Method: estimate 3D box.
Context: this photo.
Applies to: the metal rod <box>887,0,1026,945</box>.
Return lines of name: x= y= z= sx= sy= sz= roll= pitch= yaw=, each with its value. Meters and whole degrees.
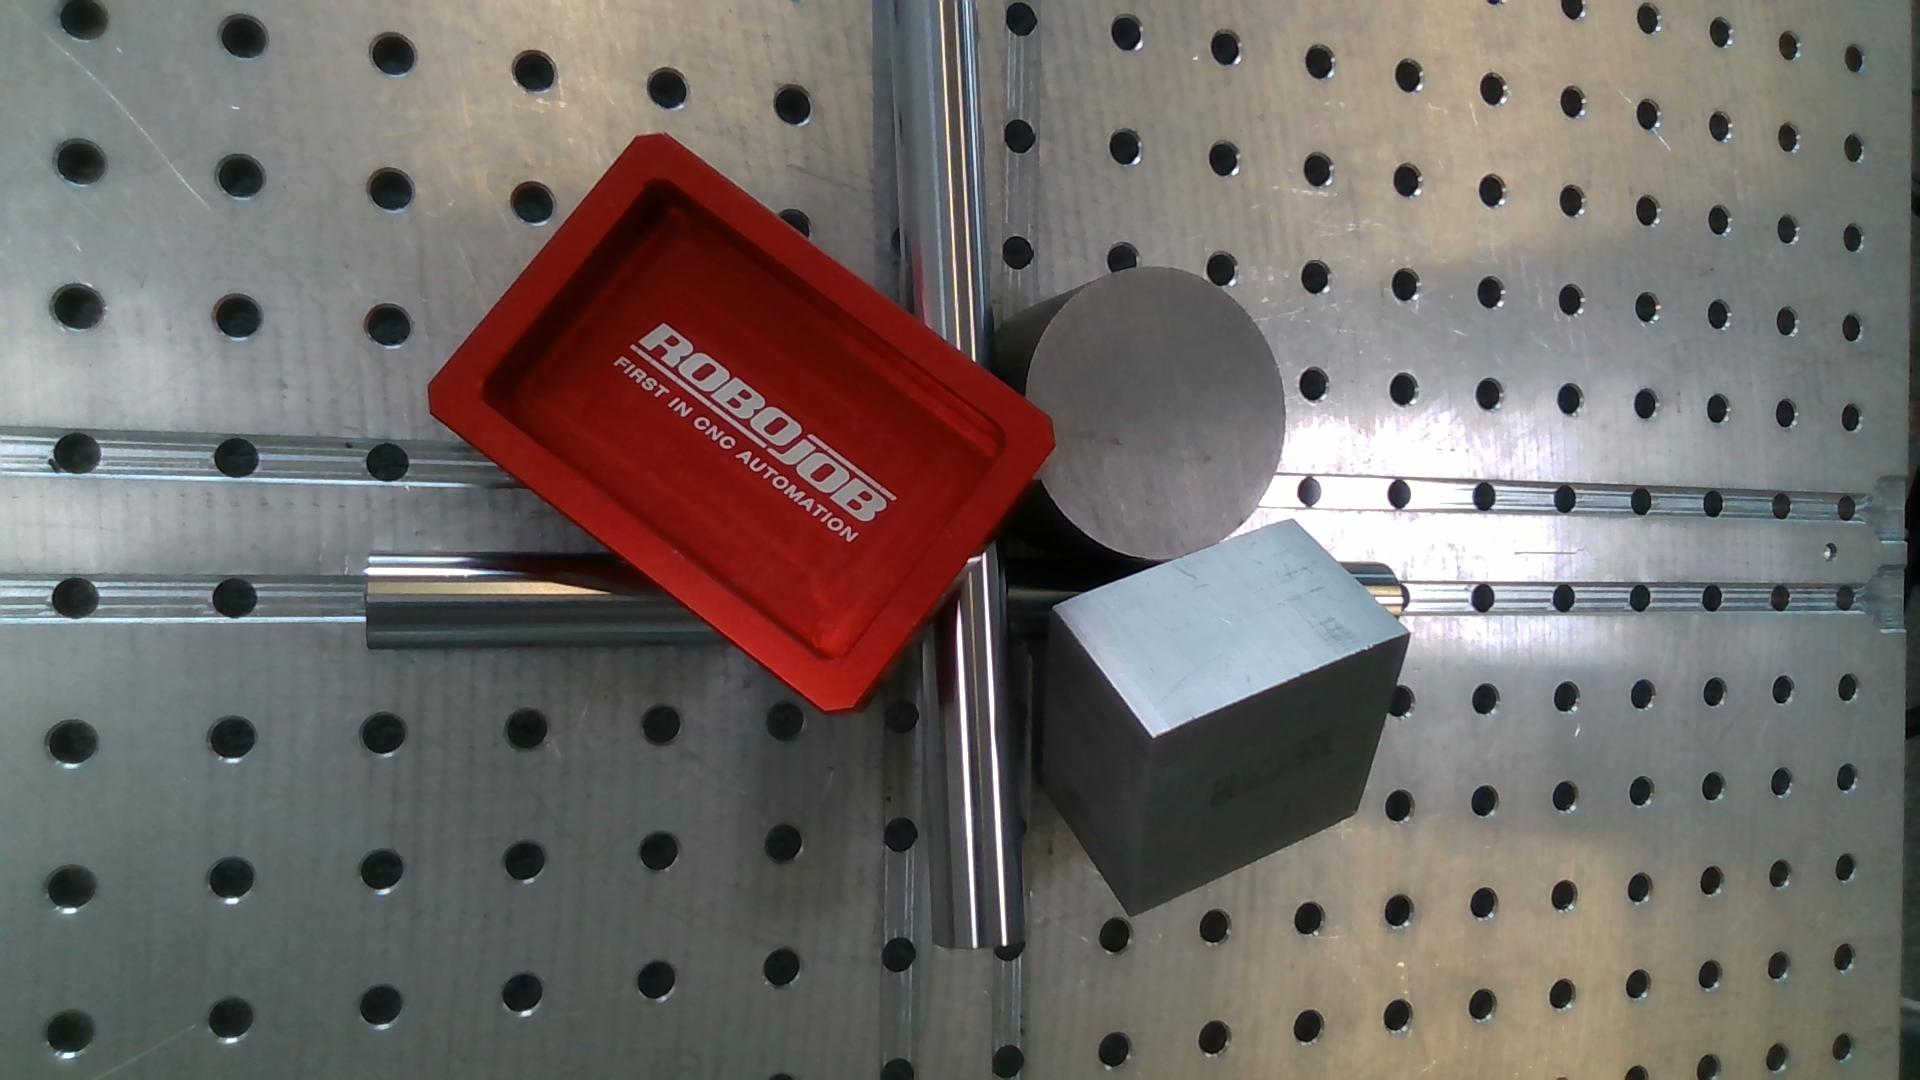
metal rod: x=-0.003 y=-0.045 z=0.378 sx=0.025 sy=0.025 sz=0.300 roll=-1 pitch=83 yaw=-20

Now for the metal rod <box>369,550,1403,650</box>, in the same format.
metal rod: x=-0.006 y=0.017 z=0.394 sx=0.300 sy=0.025 sz=0.025 roll=1 pitch=90 yaw=-20

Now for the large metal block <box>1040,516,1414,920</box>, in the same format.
large metal block: x=0.071 y=0.050 z=0.388 sx=0.080 sy=0.050 sz=0.080 roll=-19 pitch=136 yaw=-19

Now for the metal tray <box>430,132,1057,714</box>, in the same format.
metal tray: x=-0.053 y=-0.028 z=0.347 sx=0.130 sy=0.030 sz=0.090 roll=37 pitch=84 yaw=5

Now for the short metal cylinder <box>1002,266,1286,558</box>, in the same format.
short metal cylinder: x=0.046 y=-0.035 z=0.400 sx=0.080 sy=0.050 sz=0.080 roll=0 pitch=90 yaw=-20
